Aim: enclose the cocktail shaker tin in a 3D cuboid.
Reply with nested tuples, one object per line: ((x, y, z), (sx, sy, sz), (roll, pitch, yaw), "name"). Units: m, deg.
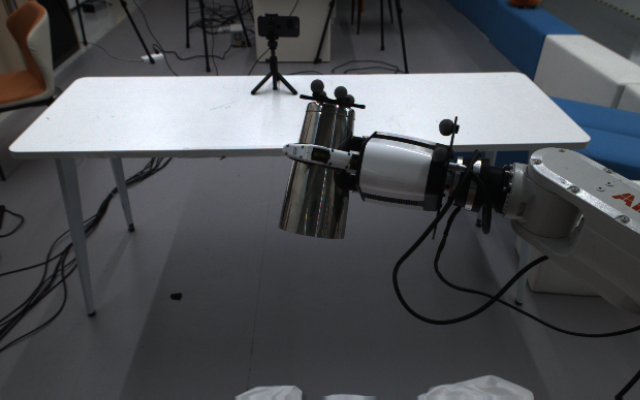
((0.003, -0.040, 0.653), (0.093, 0.170, 0.093), (9, 3, -1), "cocktail shaker tin")
